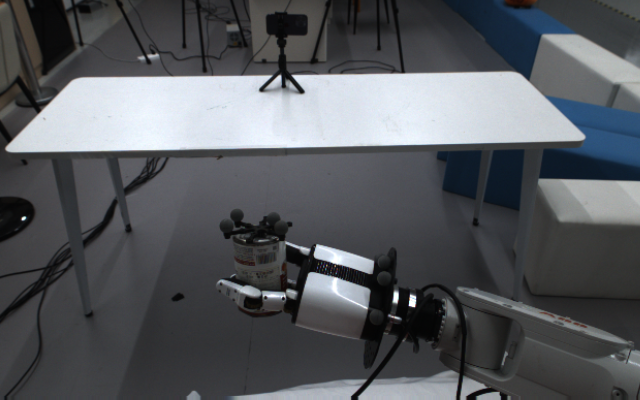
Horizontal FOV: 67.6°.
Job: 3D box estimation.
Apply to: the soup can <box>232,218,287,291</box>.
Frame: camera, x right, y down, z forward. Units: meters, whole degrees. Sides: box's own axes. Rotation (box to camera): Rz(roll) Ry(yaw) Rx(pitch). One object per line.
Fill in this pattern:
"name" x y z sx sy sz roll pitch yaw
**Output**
"soup can" -0.074 0.091 0.622 0.067 0.101 0.067 -1 16 0
